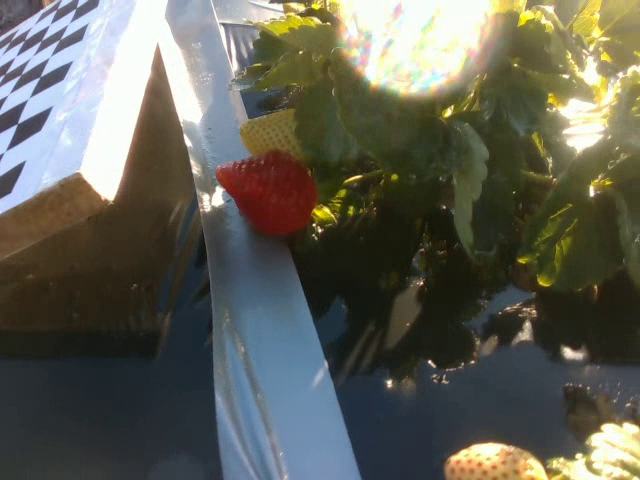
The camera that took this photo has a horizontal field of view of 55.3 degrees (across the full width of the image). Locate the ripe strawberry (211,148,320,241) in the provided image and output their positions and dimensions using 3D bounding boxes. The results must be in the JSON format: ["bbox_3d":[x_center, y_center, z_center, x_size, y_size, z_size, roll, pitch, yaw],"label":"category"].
[{"bbox_3d":[-0.027,-0.025,0.281,0.045,0.049,0.063,-6,-13,36],"label":"ripe strawberry"}]
